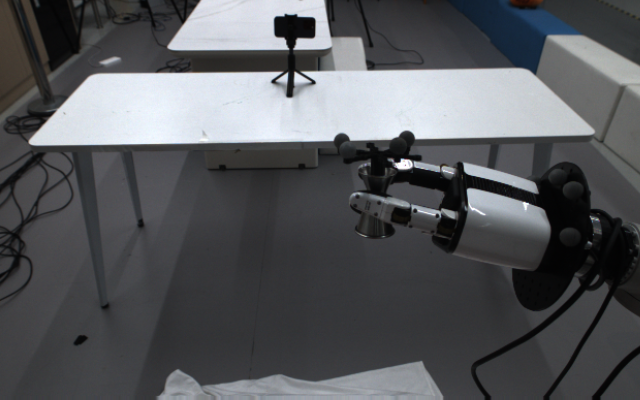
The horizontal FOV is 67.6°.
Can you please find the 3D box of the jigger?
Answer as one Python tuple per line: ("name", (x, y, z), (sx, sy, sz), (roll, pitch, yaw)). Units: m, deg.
("jigger", (0.057, -0.001, 0.516), (0.043, 0.071, 0.043), (0, 21, 0))
